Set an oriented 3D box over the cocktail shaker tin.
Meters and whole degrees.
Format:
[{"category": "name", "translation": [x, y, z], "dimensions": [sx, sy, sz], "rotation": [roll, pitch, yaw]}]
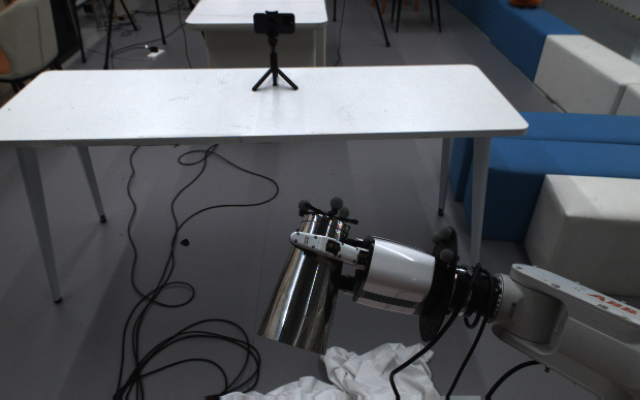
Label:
[{"category": "cocktail shaker tin", "translation": [-0.015, 0.107, 0.647], "dimensions": [0.093, 0.093, 0.170], "rotation": [13, 72, 15]}]
